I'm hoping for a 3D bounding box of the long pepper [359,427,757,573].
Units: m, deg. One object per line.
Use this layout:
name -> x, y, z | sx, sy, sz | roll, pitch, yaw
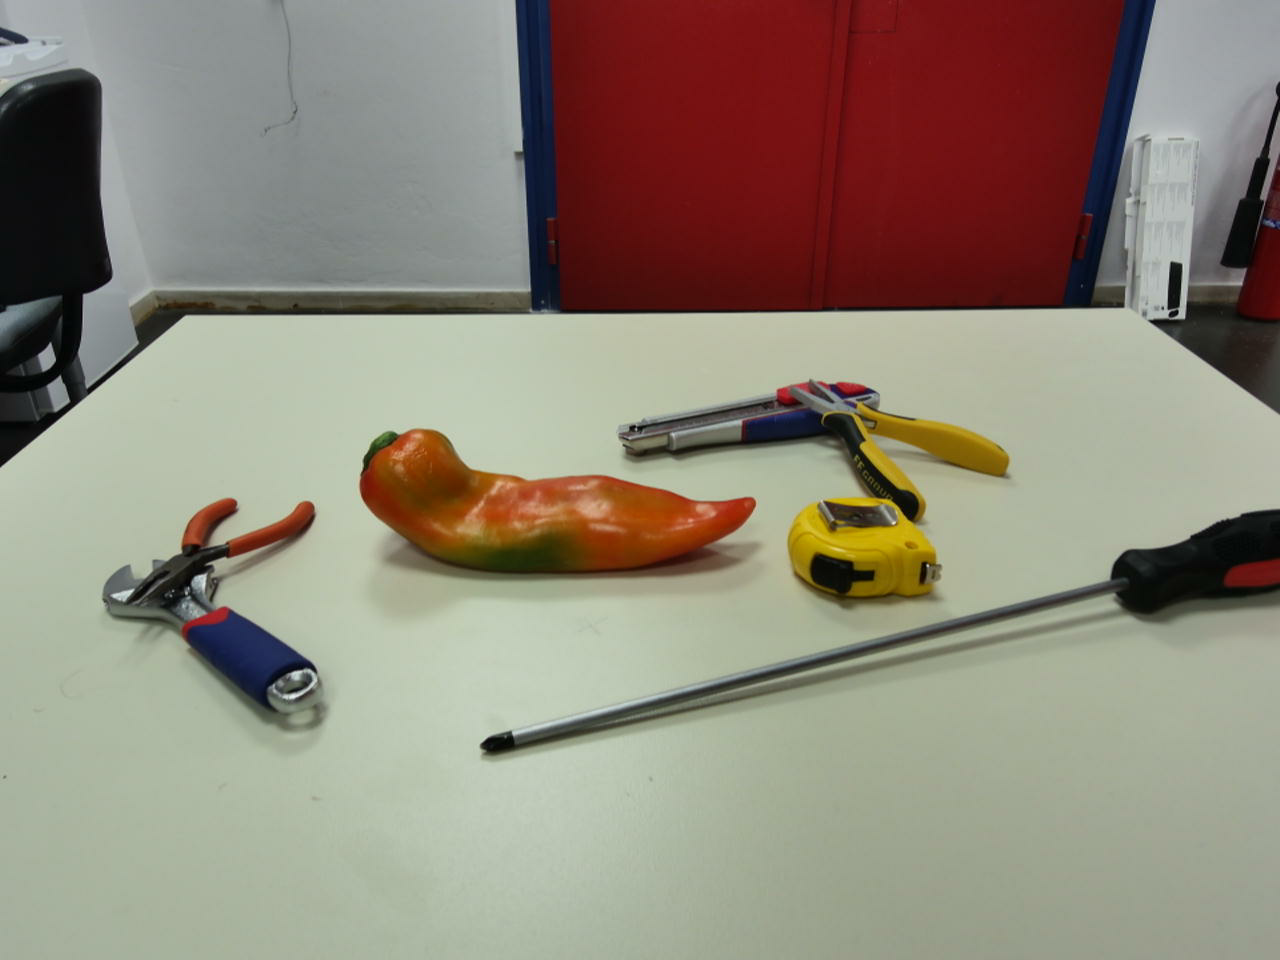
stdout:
long pepper -> -0.041, 0.007, 0.506 | 0.199, 0.065, 0.066 | 2, 26, 5
